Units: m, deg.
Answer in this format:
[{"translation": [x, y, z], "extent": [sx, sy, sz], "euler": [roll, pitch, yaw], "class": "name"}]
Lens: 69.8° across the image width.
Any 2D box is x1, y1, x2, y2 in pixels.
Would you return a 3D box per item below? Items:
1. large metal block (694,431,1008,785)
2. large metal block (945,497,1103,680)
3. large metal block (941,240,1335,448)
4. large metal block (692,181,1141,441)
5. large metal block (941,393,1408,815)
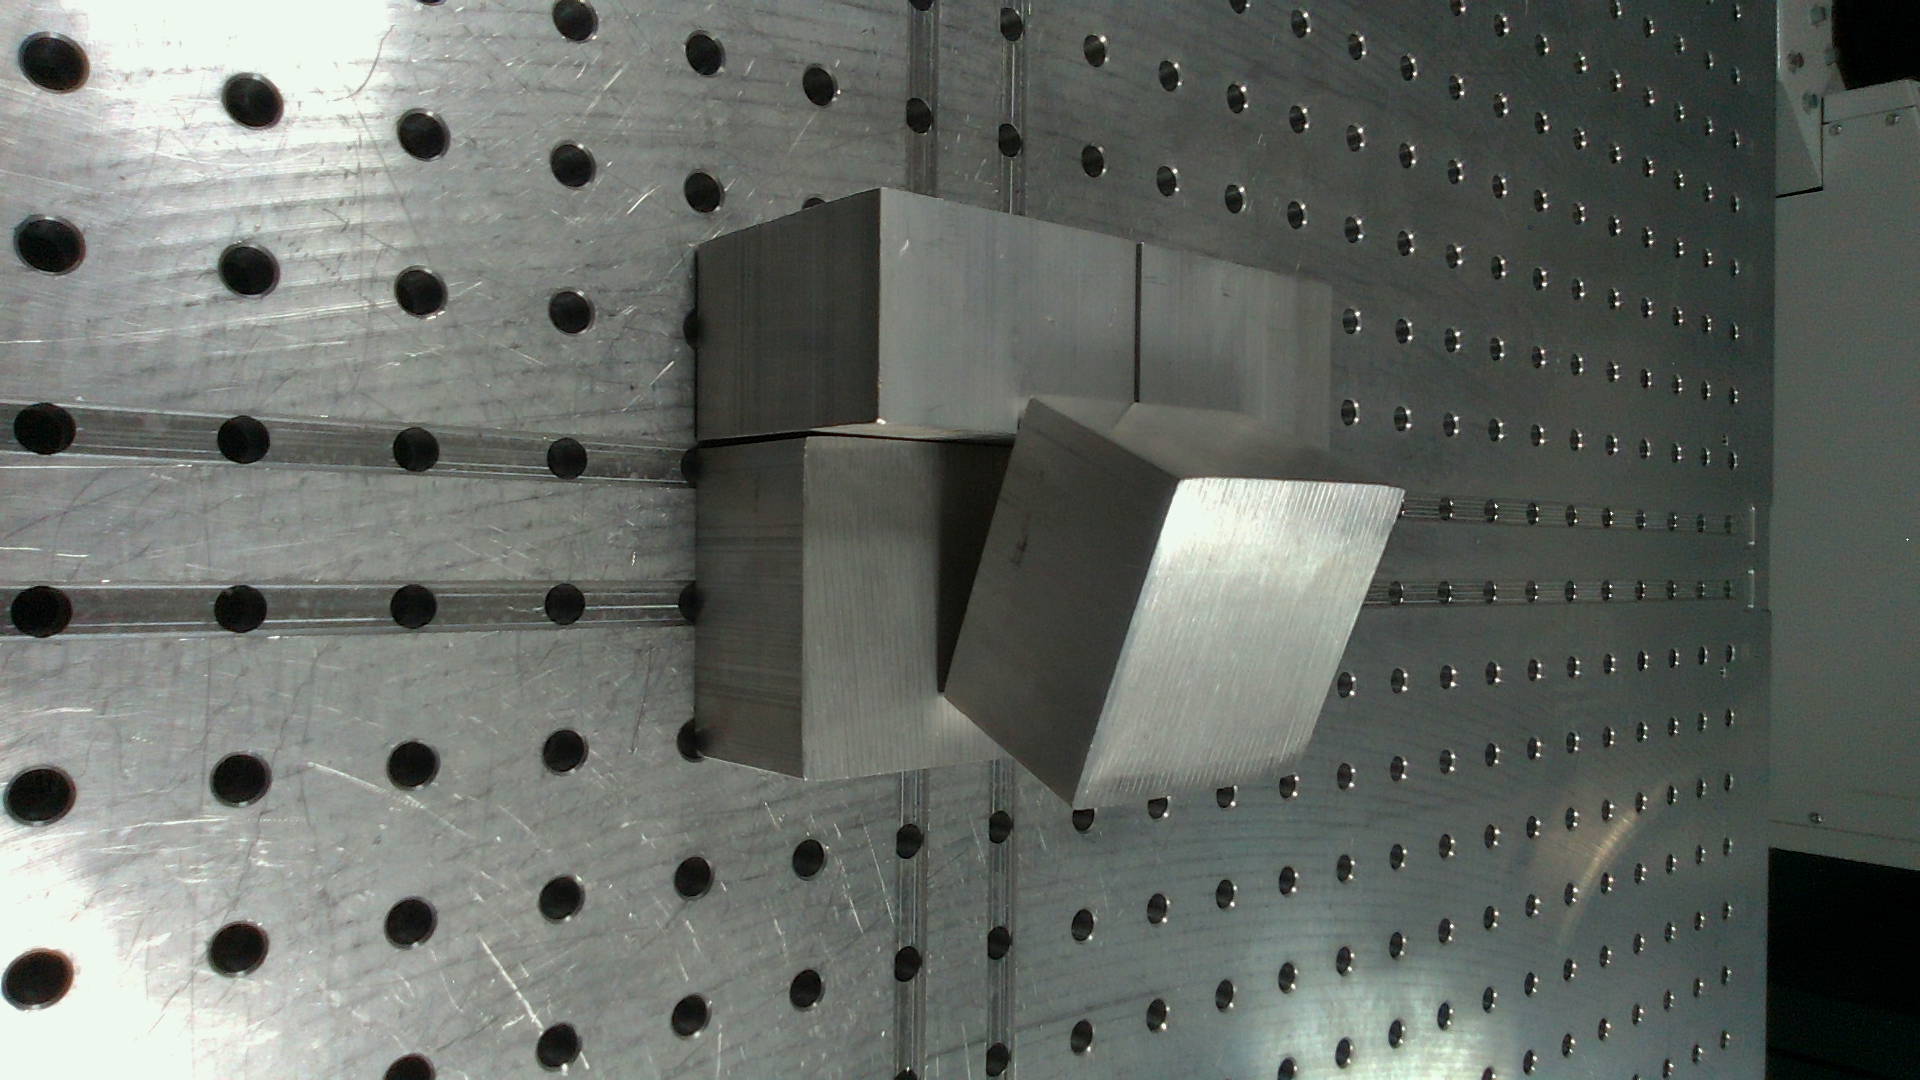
[{"translation": [-0.021, 0.016, 0.356], "extent": [0.080, 0.050, 0.080], "euler": [1, 89, -40], "class": "large metal block"}, {"translation": [0.042, 0.017, 0.408], "extent": [0.080, 0.050, 0.080], "euler": [1, 89, -40], "class": "large metal block"}, {"translation": [0.050, -0.049, 0.397], "extent": [0.080, 0.080, 0.050], "euler": [1, 89, -40], "class": "large metal block"}, {"translation": [-0.012, -0.050, 0.345], "extent": [0.080, 0.080, 0.050], "euler": [1, 89, -40], "class": "large metal block"}, {"translation": [0.051, 0.013, 0.332], "extent": [0.080, 0.050, 0.080], "euler": [0, 114, -40], "class": "large metal block"}]
